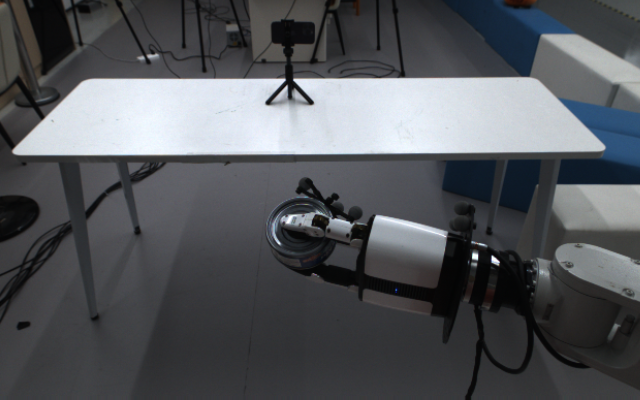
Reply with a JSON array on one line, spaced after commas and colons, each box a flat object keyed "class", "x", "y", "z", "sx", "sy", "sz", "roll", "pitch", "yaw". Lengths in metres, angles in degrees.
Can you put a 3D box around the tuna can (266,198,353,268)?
[{"class": "tuna can", "x": -0.019, "y": 0.045, "z": 0.588, "sx": 0.085, "sy": 0.034, "sz": 0.085, "roll": -4, "pitch": 57, "yaw": 6}]
